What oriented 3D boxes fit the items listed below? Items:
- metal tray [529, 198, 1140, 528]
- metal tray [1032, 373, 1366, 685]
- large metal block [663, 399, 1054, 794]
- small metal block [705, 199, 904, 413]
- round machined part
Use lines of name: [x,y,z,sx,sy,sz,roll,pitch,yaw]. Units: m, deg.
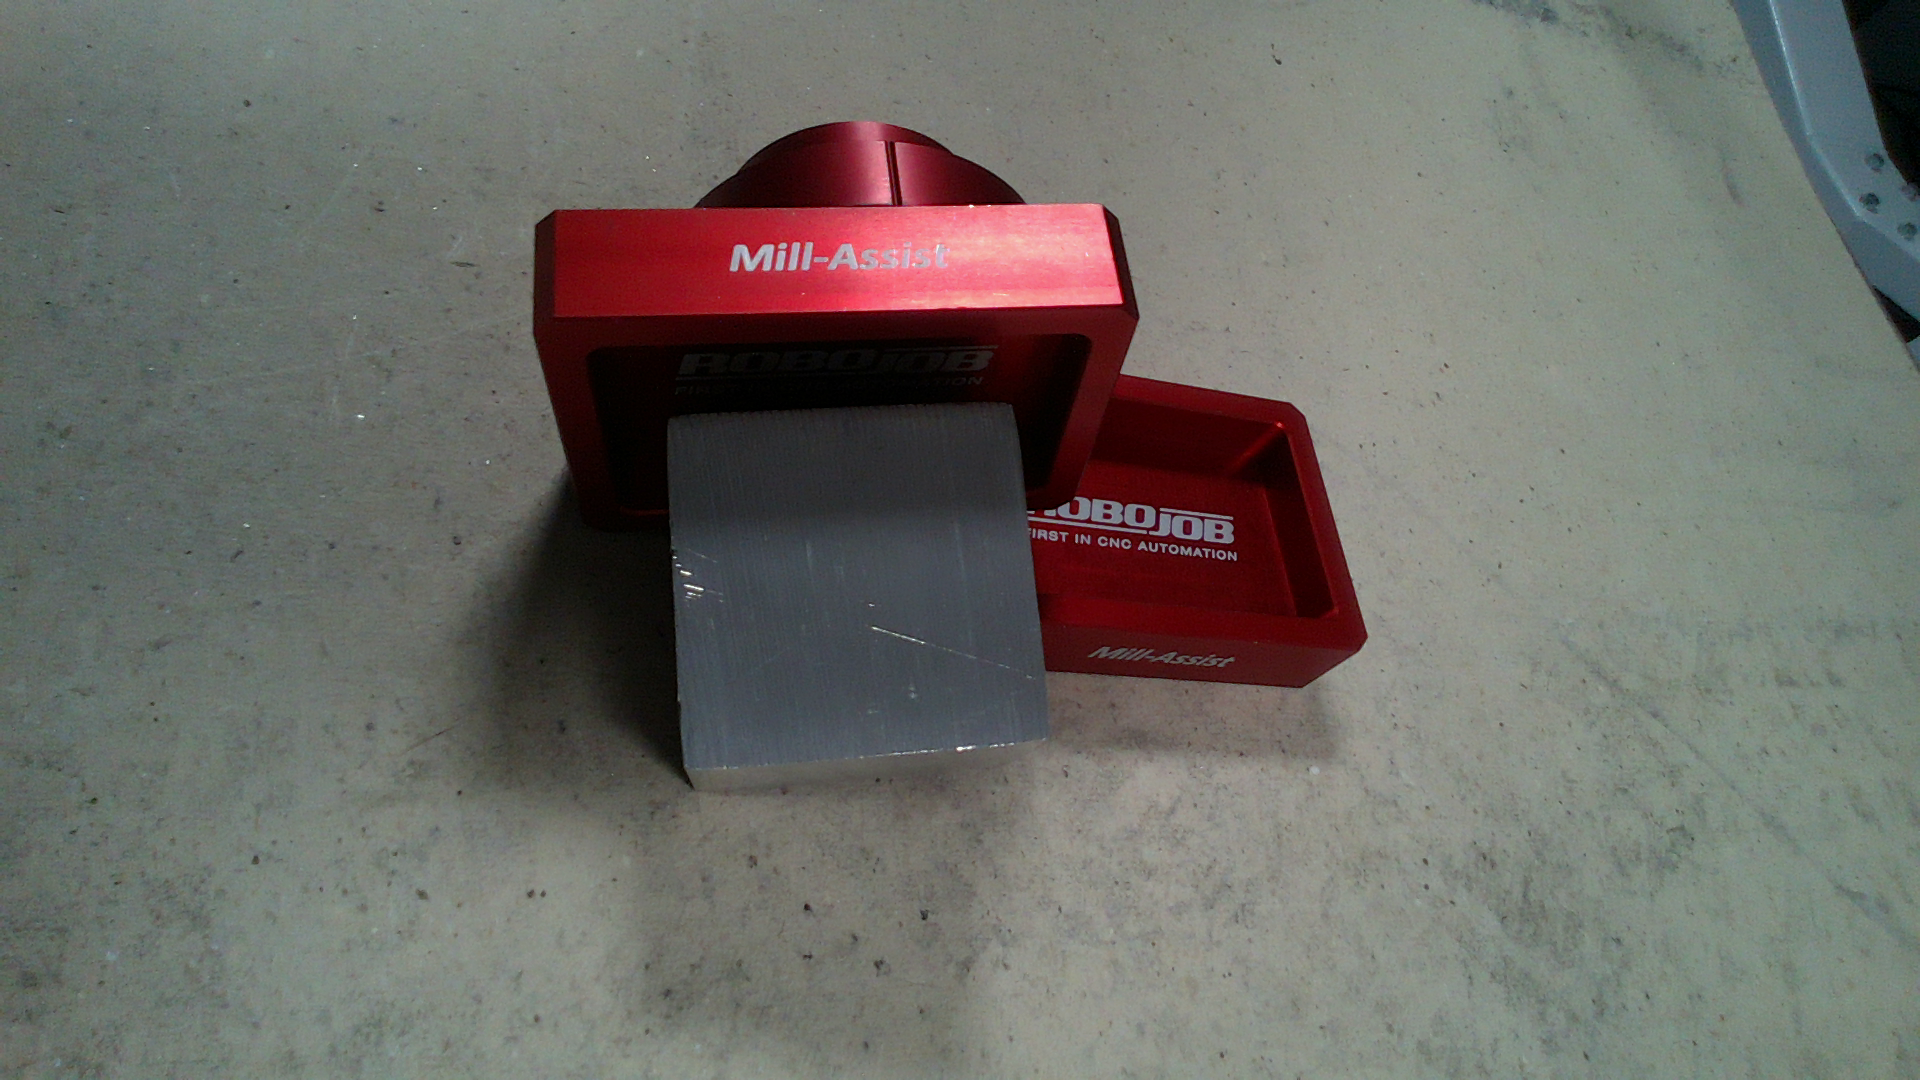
metal tray: [-0.030,-0.040,0.334,0.130,0.090,0.030,-3,62,-9]
metal tray: [0.054,-0.005,0.419,0.130,0.030,0.090,6,59,-25]
large metal block: [-0.026,0.015,0.327,0.080,0.050,0.080,-3,75,-10]
small metal block: [-0.047,-0.069,0.408,0.050,0.025,0.050,6,59,-25]
round machined part: [-0.026,-0.069,0.357,0.098,0.098,0.042,6,59,-25]
